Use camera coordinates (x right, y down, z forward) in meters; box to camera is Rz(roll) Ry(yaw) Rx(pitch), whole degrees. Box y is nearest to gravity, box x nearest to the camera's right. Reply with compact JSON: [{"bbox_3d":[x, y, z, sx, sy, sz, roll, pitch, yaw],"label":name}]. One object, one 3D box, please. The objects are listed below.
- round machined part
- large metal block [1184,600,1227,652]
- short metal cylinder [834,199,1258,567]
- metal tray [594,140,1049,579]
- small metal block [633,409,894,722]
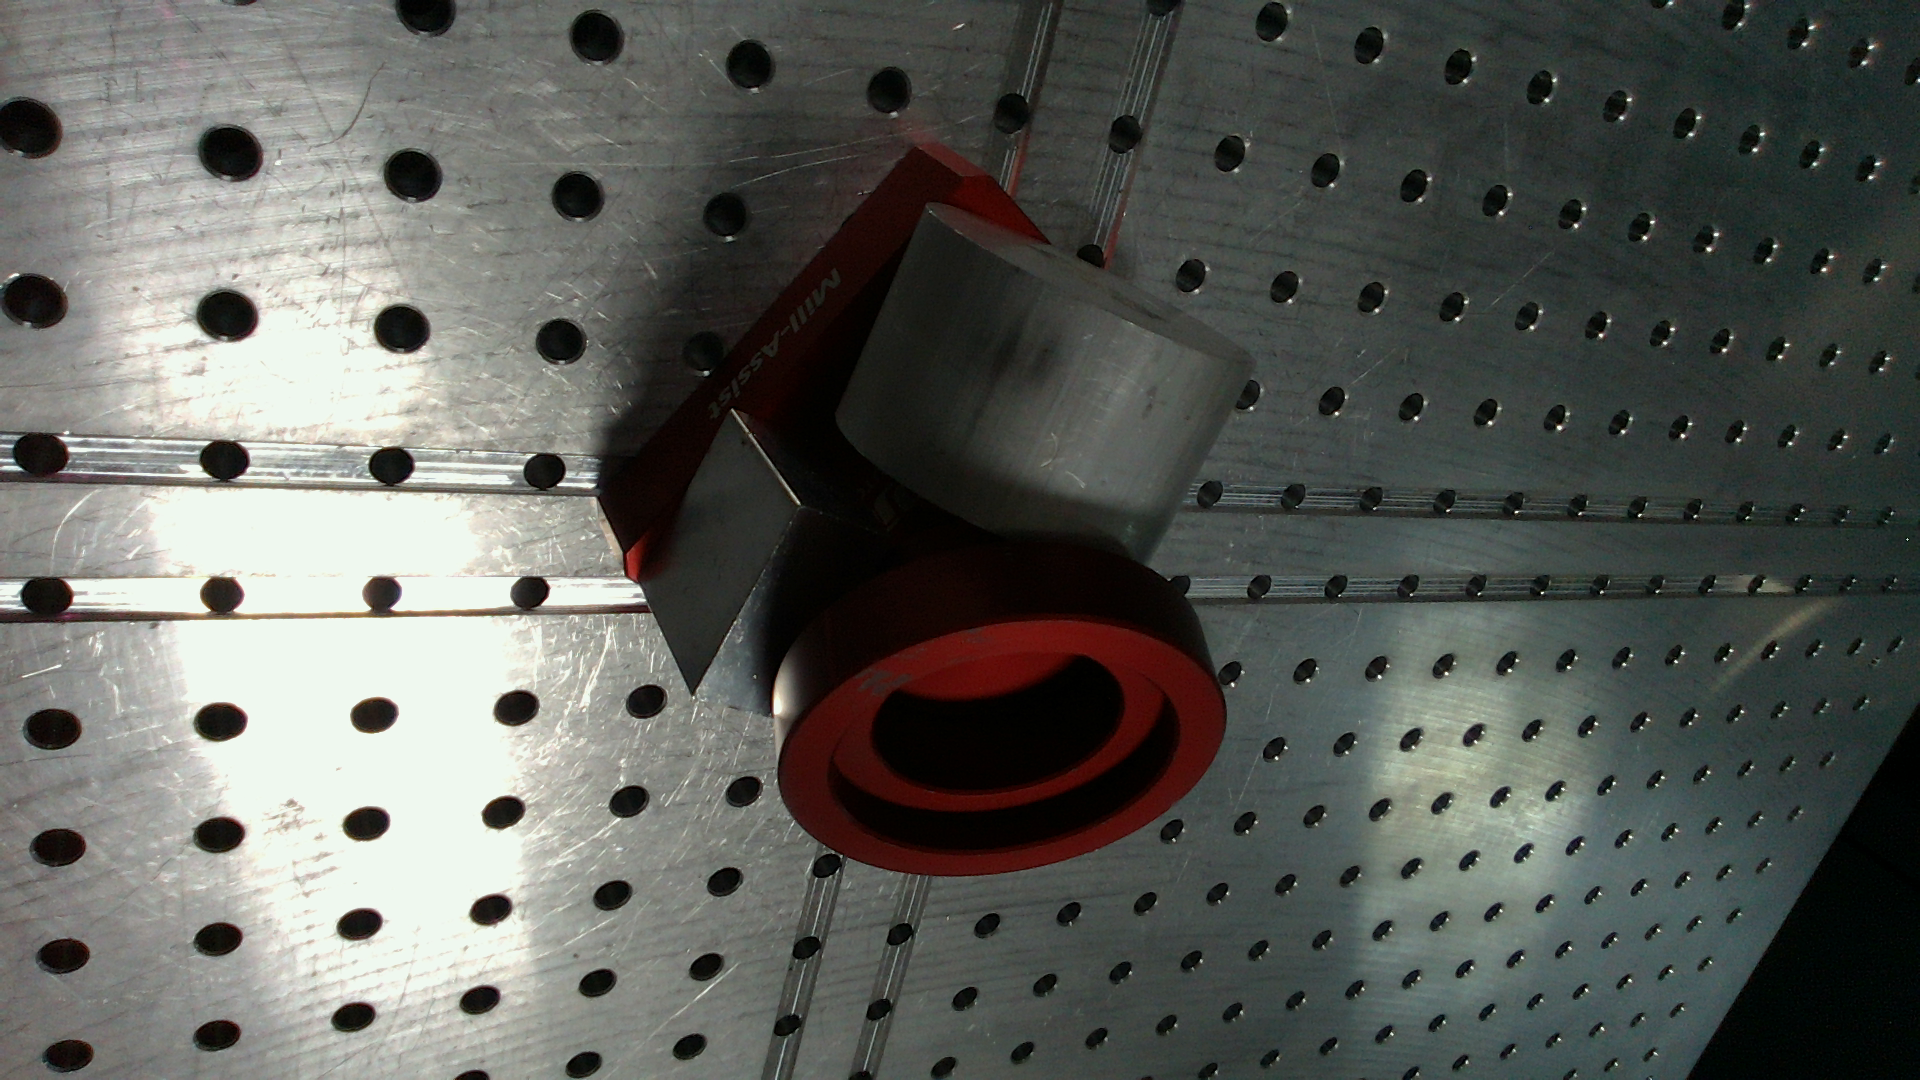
[{"bbox_3d":[0.007,0.033,0.309,0.098,0.042,0.098,-6,138,-5],"label":"round machined part"},{"bbox_3d":[0.025,0.036,0.388,0.080,0.050,0.080,-47,160,5],"label":"large metal block"},{"bbox_3d":[0.019,-0.035,0.306,0.080,0.080,0.050,14,111,-34],"label":"short metal cylinder"},{"bbox_3d":[-0.019,-0.026,0.363,0.130,0.030,0.090,-47,129,4],"label":"metal tray"},{"bbox_3d":[-0.047,0.006,0.314,0.025,0.050,0.050,21,107,-36],"label":"small metal block"}]
